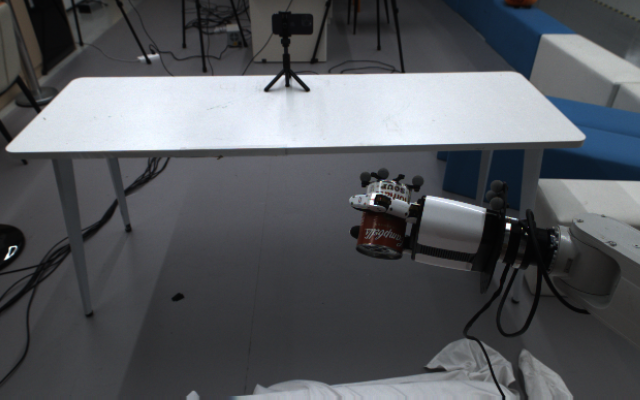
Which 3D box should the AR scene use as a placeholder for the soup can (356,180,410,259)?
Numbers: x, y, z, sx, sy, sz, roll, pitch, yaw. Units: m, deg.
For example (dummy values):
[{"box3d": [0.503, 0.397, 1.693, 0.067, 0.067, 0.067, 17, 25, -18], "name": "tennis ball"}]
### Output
[{"box3d": [0.095, 0.029, 0.707, 0.067, 0.067, 0.101, 9, 71, 10], "name": "soup can"}]
